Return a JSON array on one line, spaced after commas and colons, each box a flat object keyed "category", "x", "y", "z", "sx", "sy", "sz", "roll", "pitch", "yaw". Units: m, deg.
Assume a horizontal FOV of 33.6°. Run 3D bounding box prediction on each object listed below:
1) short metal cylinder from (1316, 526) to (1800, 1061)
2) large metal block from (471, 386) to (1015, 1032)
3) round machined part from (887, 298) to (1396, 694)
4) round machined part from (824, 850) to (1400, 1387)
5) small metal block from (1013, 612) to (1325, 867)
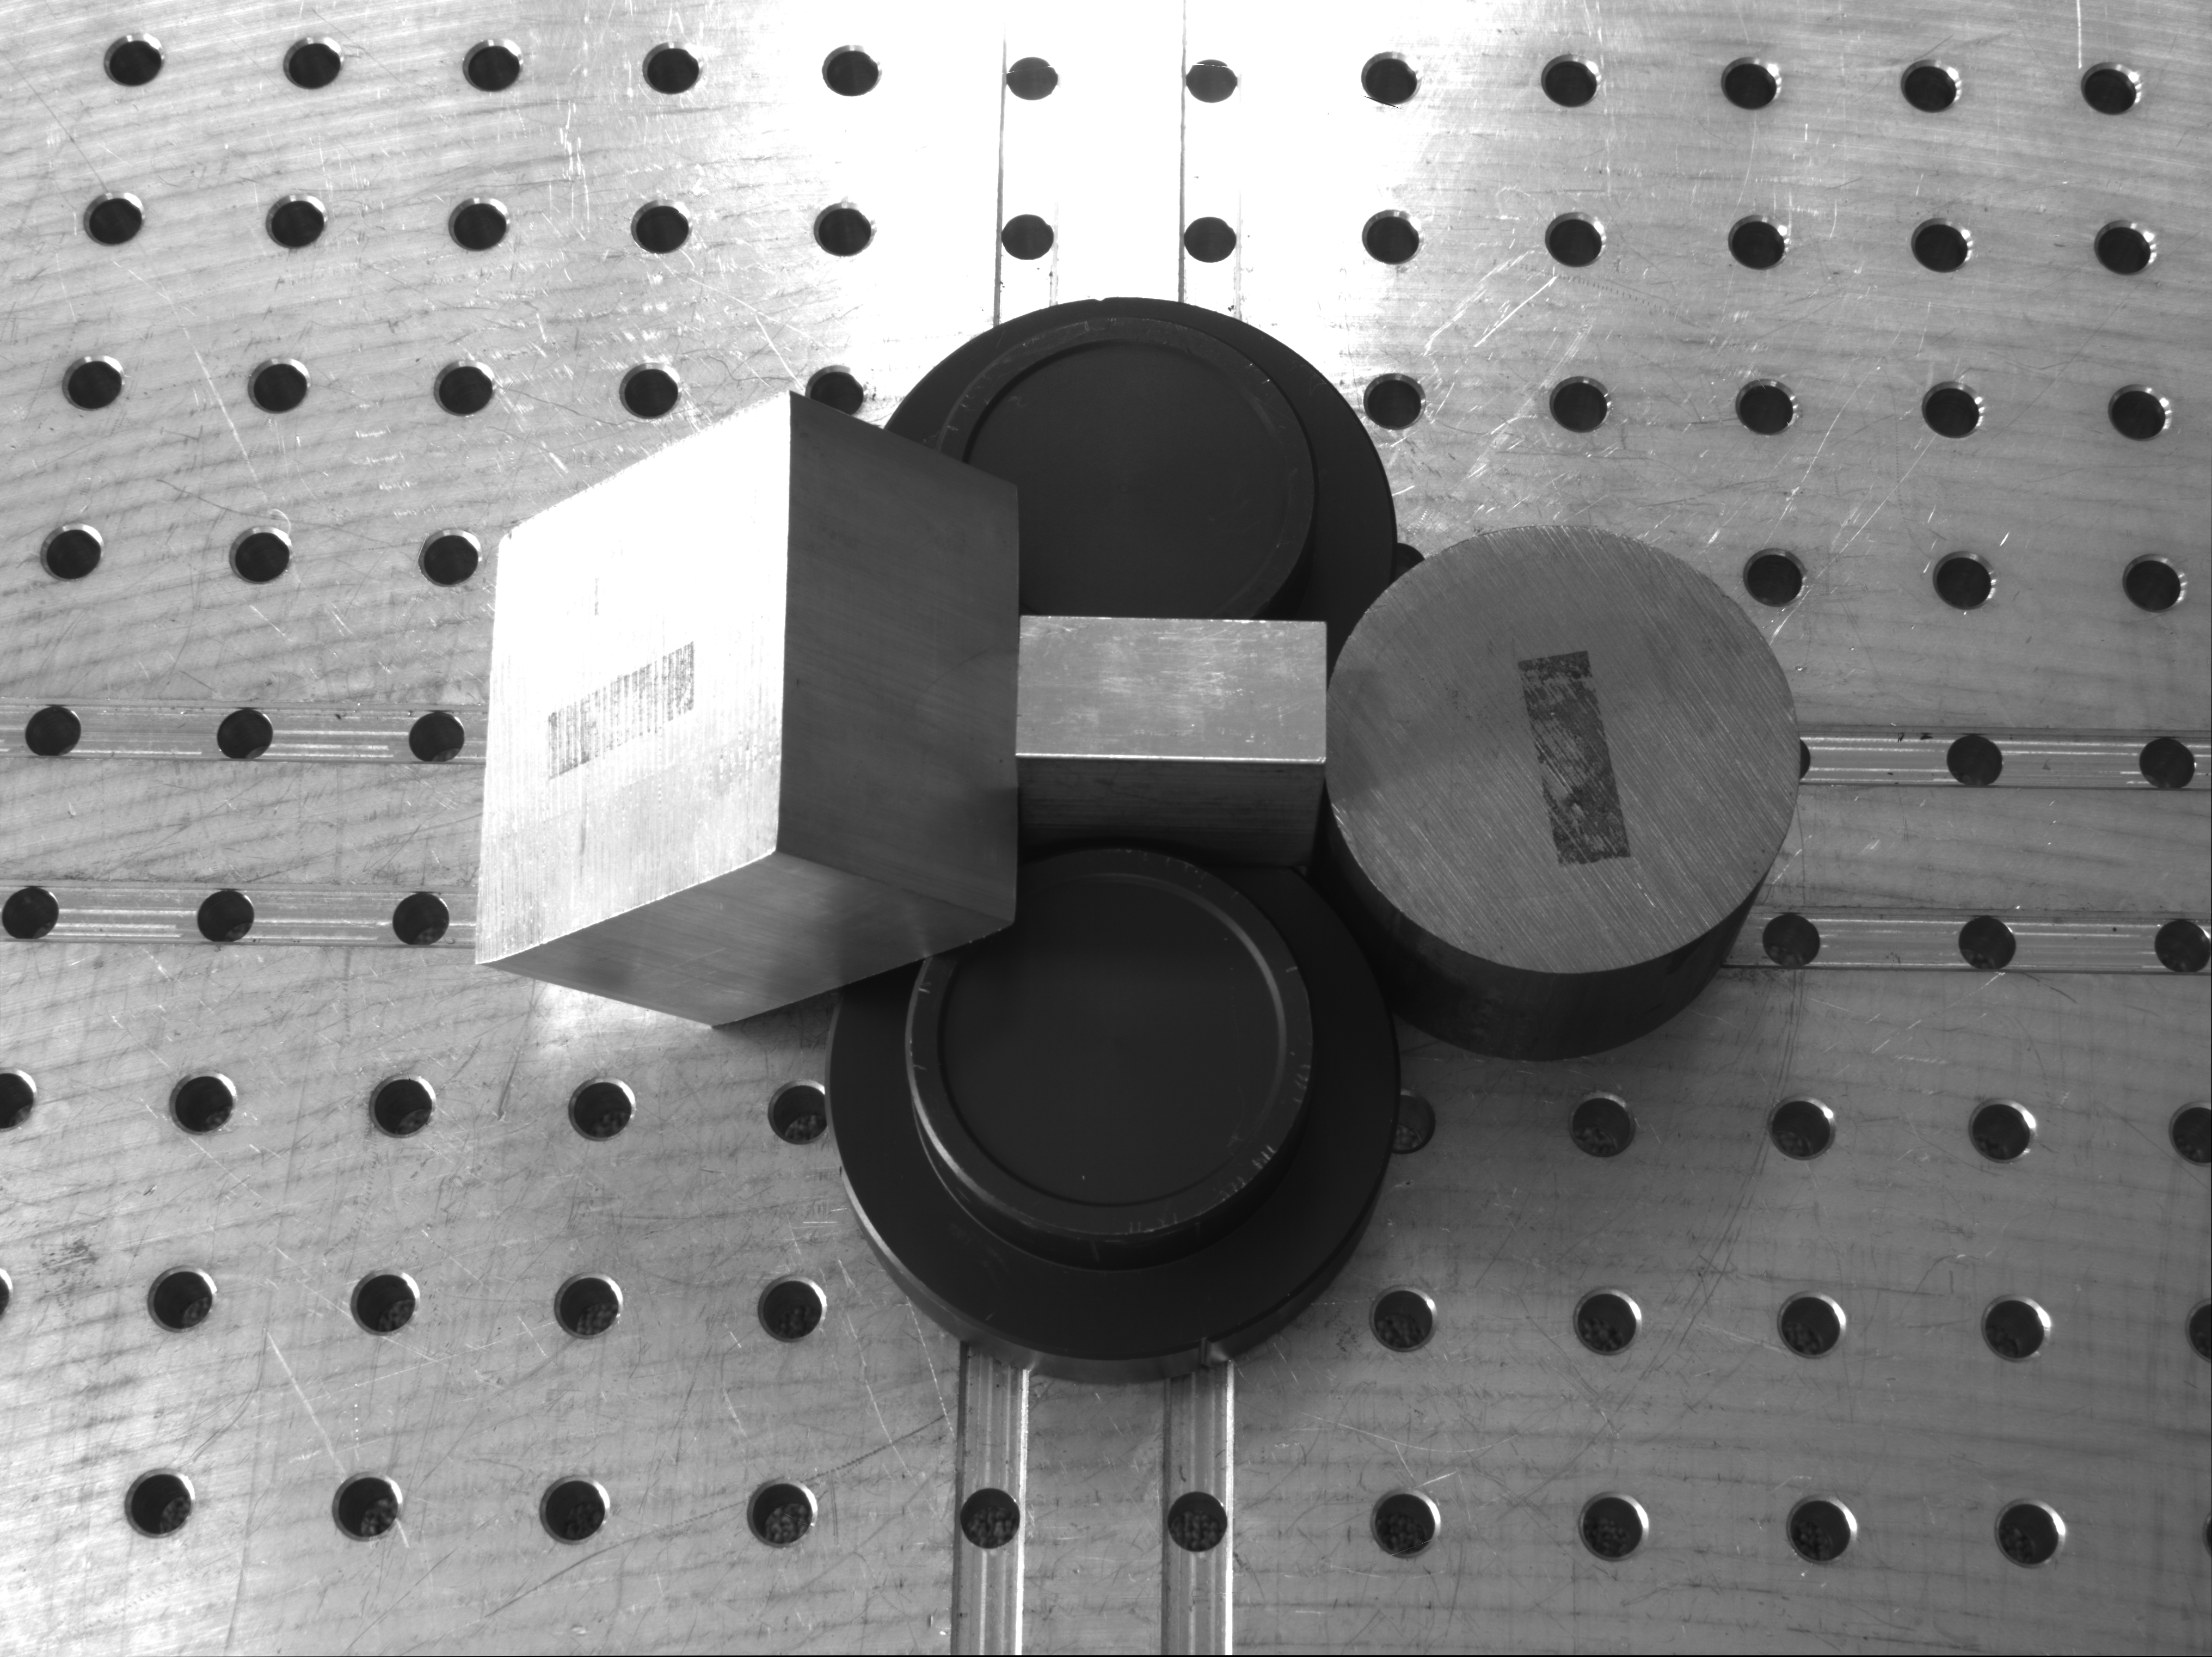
[{"category": "short metal cylinder", "x": 0.076, "y": -0.005, "z": 0.635, "sx": 0.080, "sy": 0.050, "sz": 0.080, "roll": 0, "pitch": 70, "yaw": 0}, {"category": "large metal block", "x": -0.061, "y": -0.018, "z": 0.618, "sx": 0.050, "sy": 0.080, "sz": 0.080, "roll": 18, "pitch": 63, "yaw": -41}, {"category": "round machined part", "x": 0.003, "y": -0.052, "z": 0.658, "sx": 0.098, "sy": 0.042, "sz": 0.098, "roll": 0, "pitch": 70, "yaw": 0}, {"category": "round machined part", "x": 0.001, "y": 0.042, "z": 0.623, "sx": 0.098, "sy": 0.042, "sz": 0.098, "roll": 0, "pitch": 70, "yaw": 0}, {"category": "small metal block", "x": 0.011, "y": -0.014, "z": 0.616, "sx": 0.050, "sy": 0.050, "sz": 0.025, "roll": 1, "pitch": 70, "yaw": 1}]
